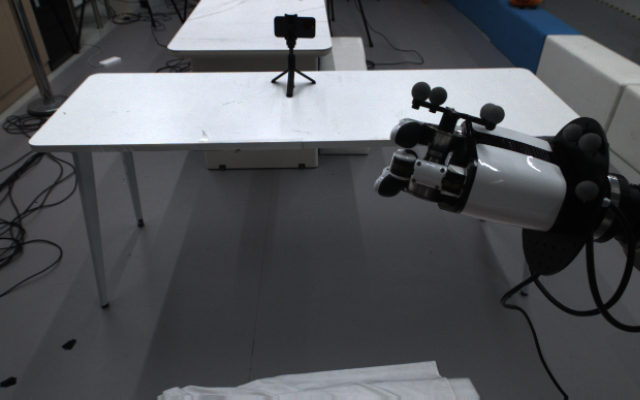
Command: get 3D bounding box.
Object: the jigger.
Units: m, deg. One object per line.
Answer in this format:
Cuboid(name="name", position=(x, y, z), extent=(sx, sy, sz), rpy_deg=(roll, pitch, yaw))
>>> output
Cuboid(name="jigger", position=(0.116, -0.037, 0.485), extent=(0.043, 0.071, 0.043), rpy_deg=(15, 16, -5))
